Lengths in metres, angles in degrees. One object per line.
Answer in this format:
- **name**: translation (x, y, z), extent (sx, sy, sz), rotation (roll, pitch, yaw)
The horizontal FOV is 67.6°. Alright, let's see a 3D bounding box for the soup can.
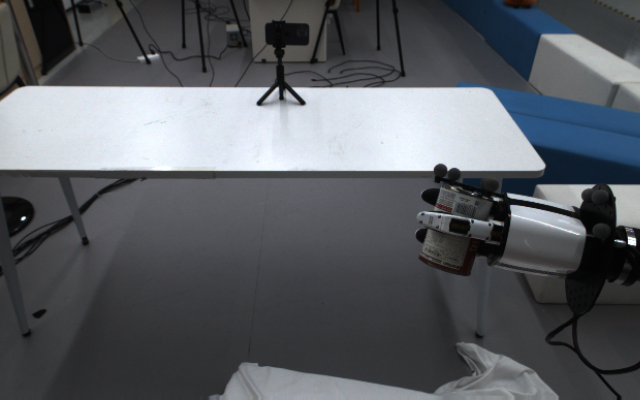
- **soup can**: translation (0.174, 0.036, 0.617), extent (0.067, 0.101, 0.067), rotation (15, 7, -2)
